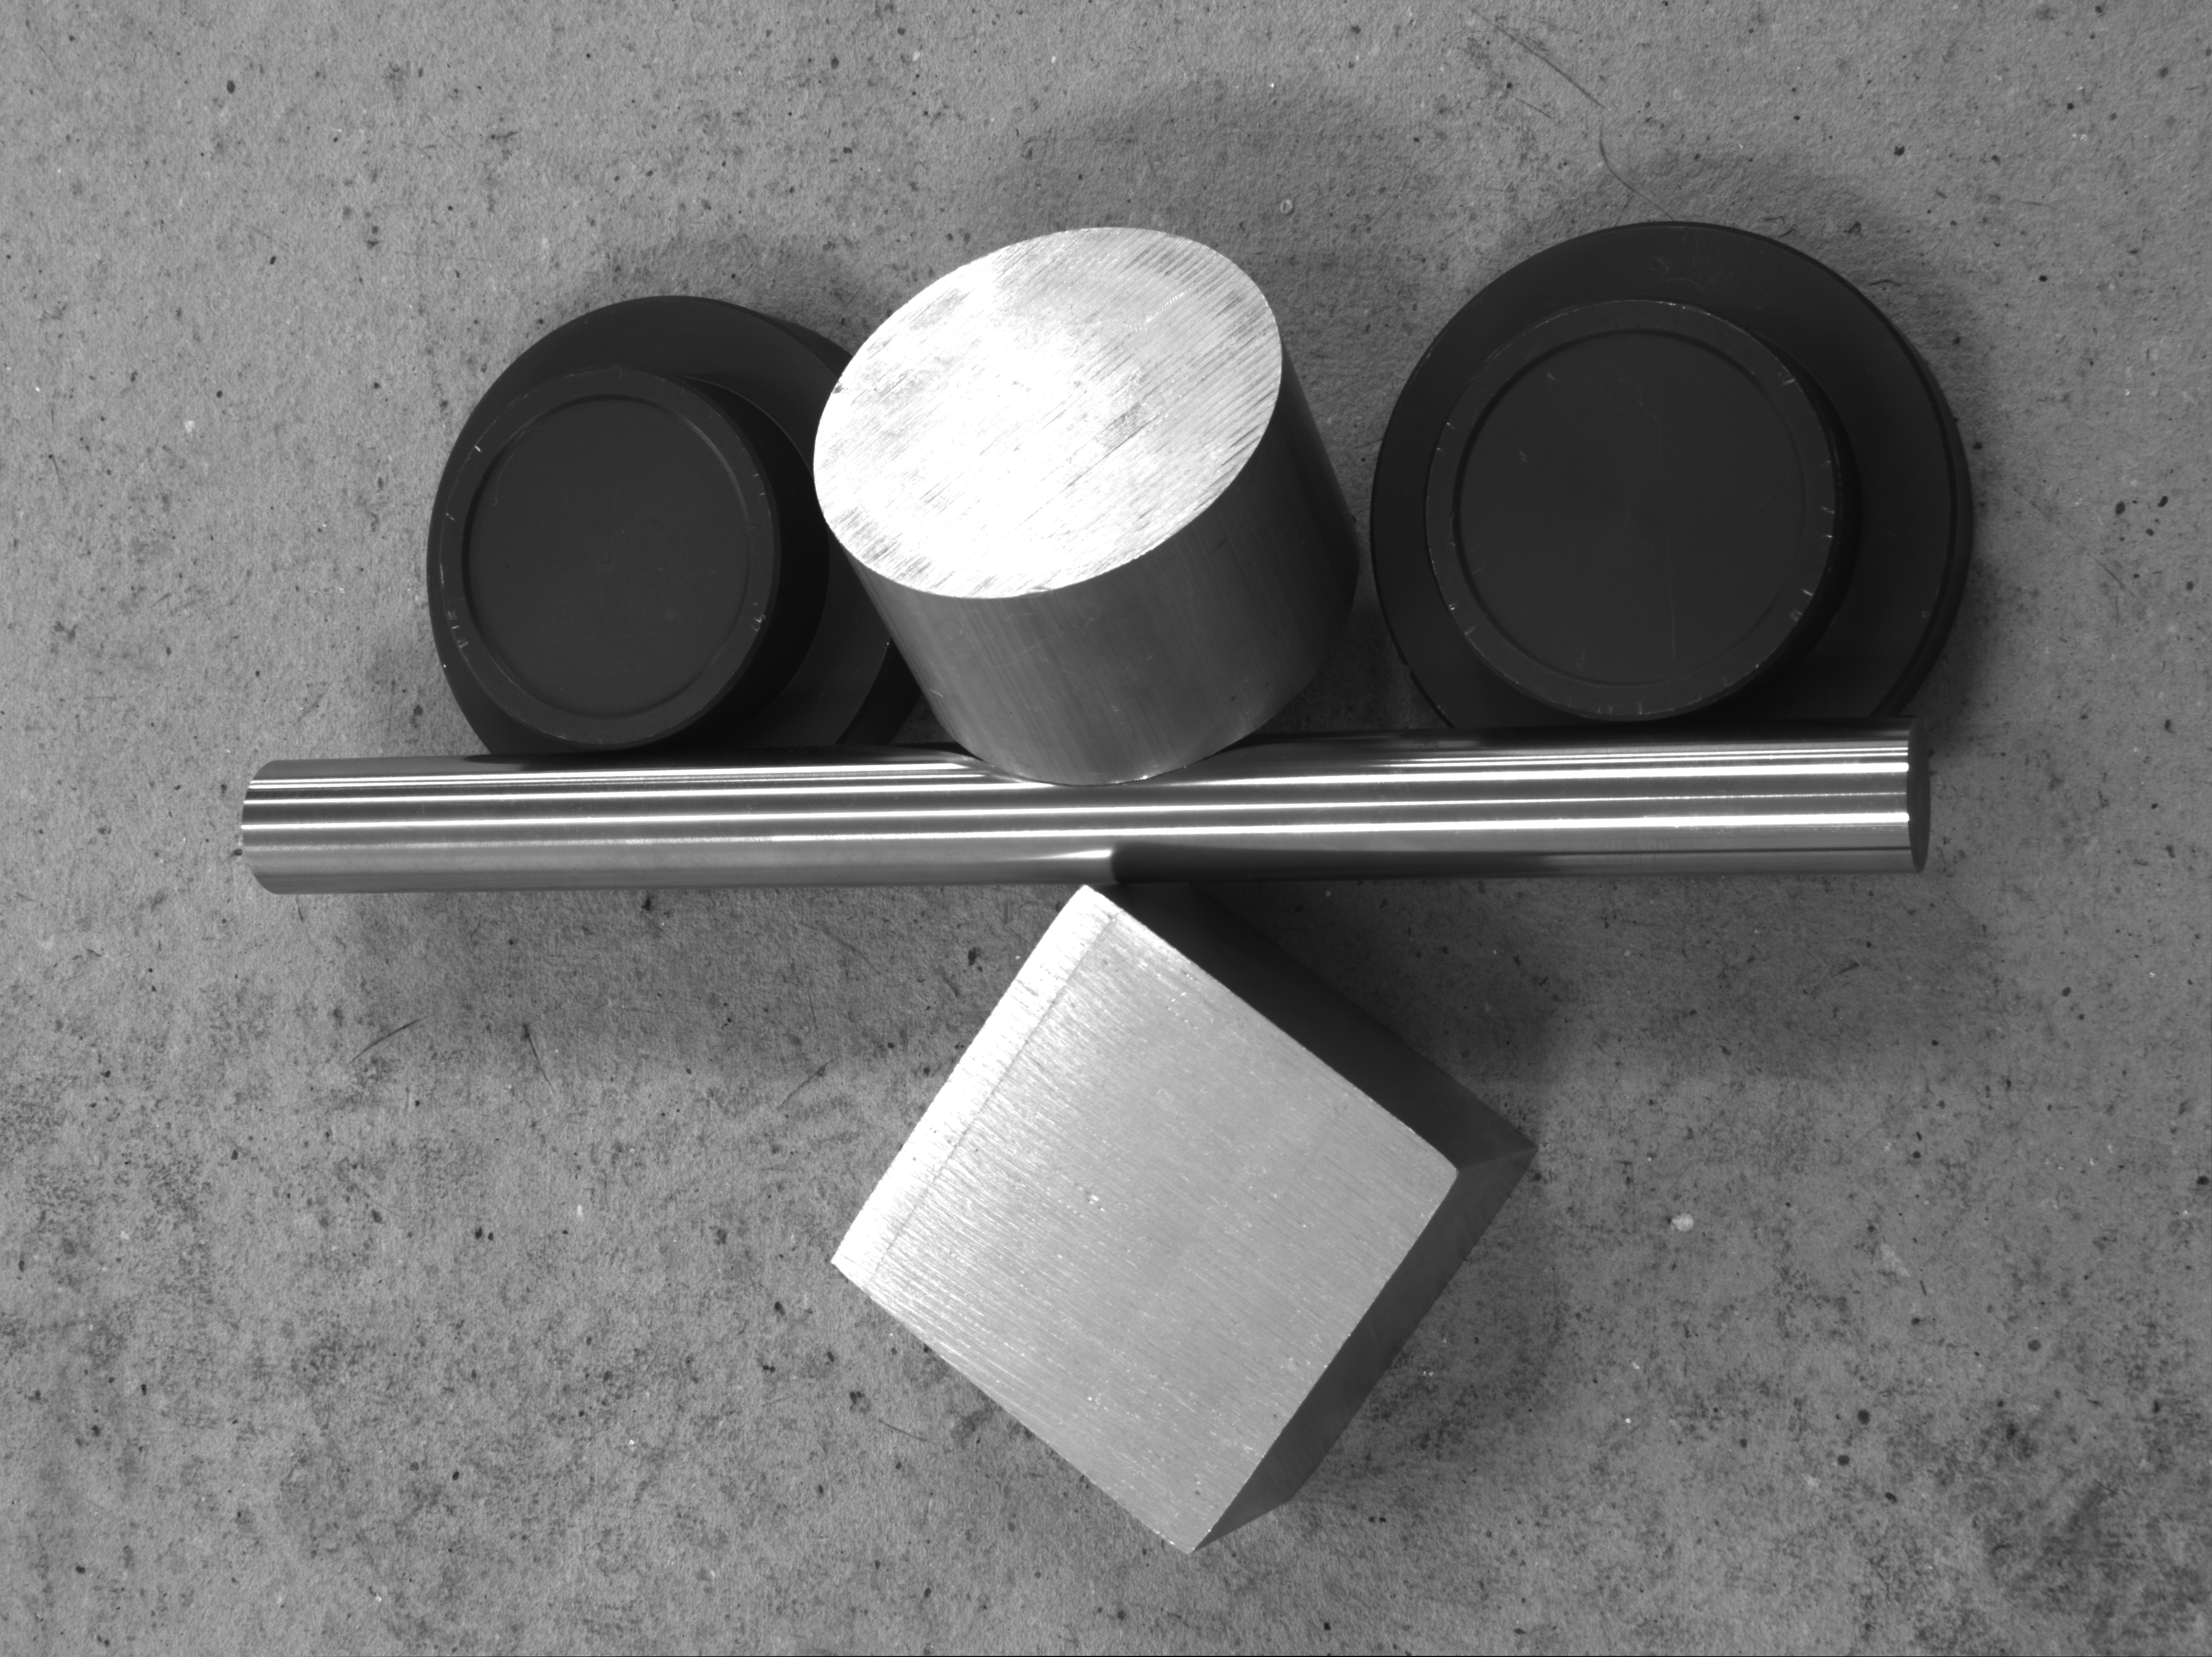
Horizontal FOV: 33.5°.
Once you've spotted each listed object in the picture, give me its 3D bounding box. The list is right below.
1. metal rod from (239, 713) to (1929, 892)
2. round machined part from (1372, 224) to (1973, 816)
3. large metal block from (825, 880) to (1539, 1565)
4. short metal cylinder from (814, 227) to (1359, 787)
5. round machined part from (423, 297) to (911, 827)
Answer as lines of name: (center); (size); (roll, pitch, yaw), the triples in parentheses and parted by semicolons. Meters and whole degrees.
metal rod: (-0.013, -0.003, 0.629); (0.299, 0.025, 0.025); (-1, 90, 20)
round machined part: (0.091, -0.051, 0.605); (0.098, 0.042, 0.098); (0, 90, 20)
large metal block: (0.013, 0.065, 0.626); (0.080, 0.050, 0.080); (37, 102, 16)
short metal cylinder: (-0.003, -0.054, 0.615); (0.080, 0.050, 0.080); (-10, 51, 13)
round machined part: (-0.082, -0.048, 0.667); (0.098, 0.042, 0.098); (0, 90, 20)
